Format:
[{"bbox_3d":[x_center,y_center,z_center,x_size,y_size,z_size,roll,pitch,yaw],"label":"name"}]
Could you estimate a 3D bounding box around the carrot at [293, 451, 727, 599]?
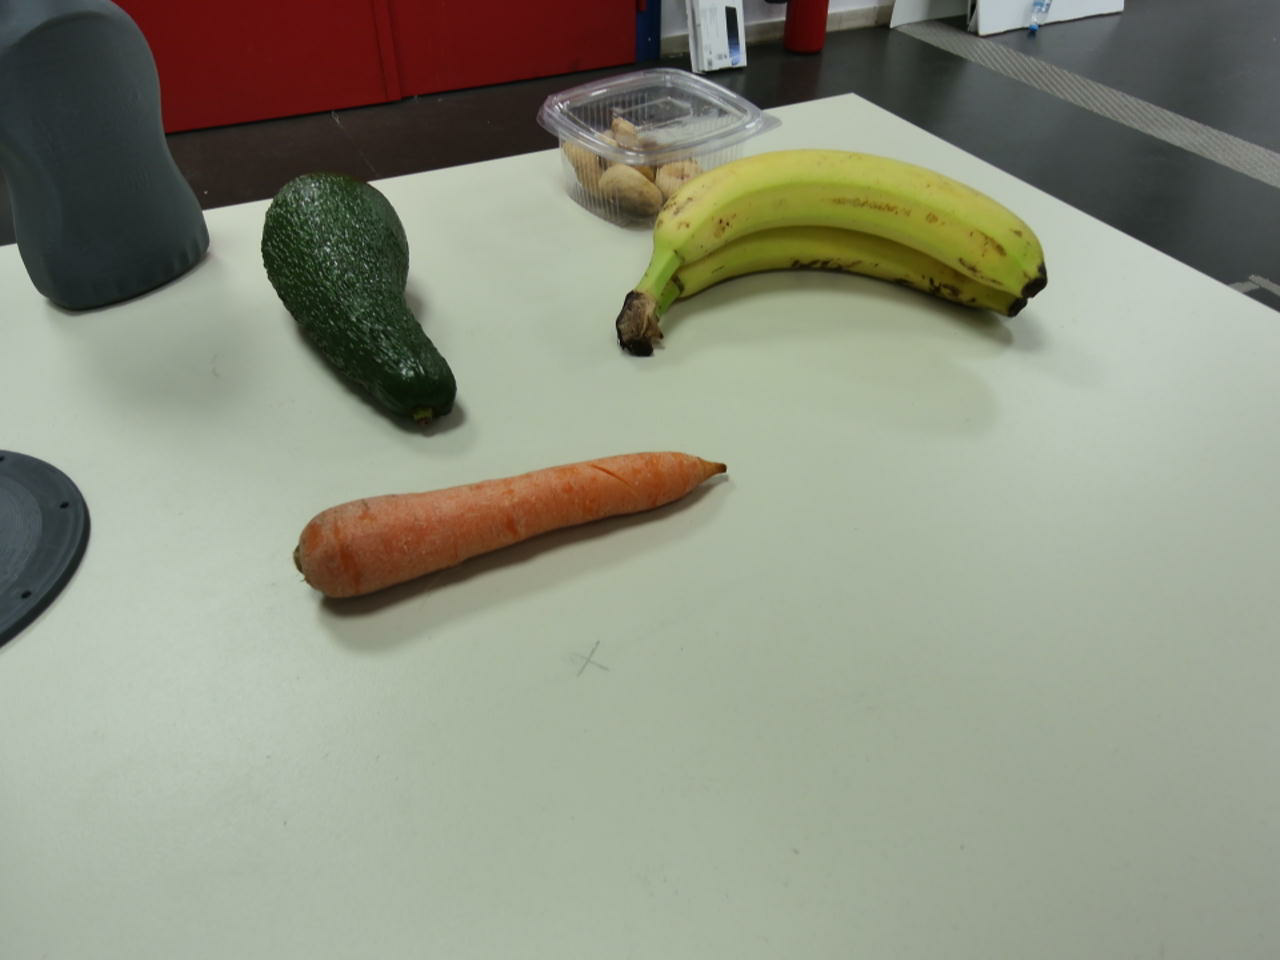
[{"bbox_3d":[-0.048,0.008,0.434,0.196,0.041,0.039,-17,41,-21],"label":"carrot"}]
